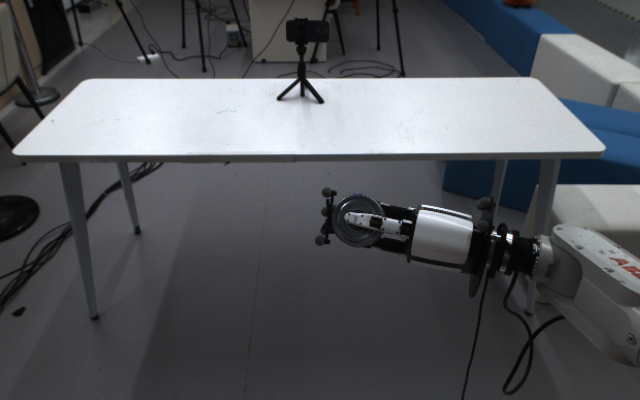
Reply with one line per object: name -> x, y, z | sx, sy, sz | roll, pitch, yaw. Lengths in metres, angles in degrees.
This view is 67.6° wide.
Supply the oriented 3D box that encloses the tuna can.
tuna can -> 0.066, 0.036, 0.774 | 0.085, 0.085, 0.034 | 9, -6, 10
